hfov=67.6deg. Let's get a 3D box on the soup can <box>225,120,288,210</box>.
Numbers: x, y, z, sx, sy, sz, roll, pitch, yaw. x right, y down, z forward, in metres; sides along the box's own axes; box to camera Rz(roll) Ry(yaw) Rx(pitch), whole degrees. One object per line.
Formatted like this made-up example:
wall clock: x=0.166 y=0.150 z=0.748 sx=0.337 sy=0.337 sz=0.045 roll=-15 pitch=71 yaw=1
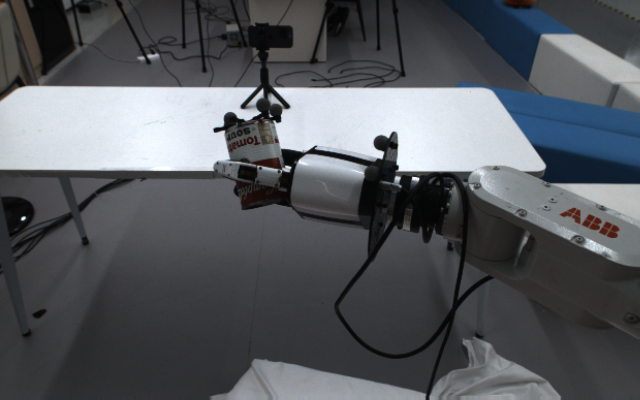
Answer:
soup can: x=-0.077 y=-0.043 z=0.621 sx=0.067 sy=0.101 sz=0.067 roll=-14 pitch=-2 yaw=-1
